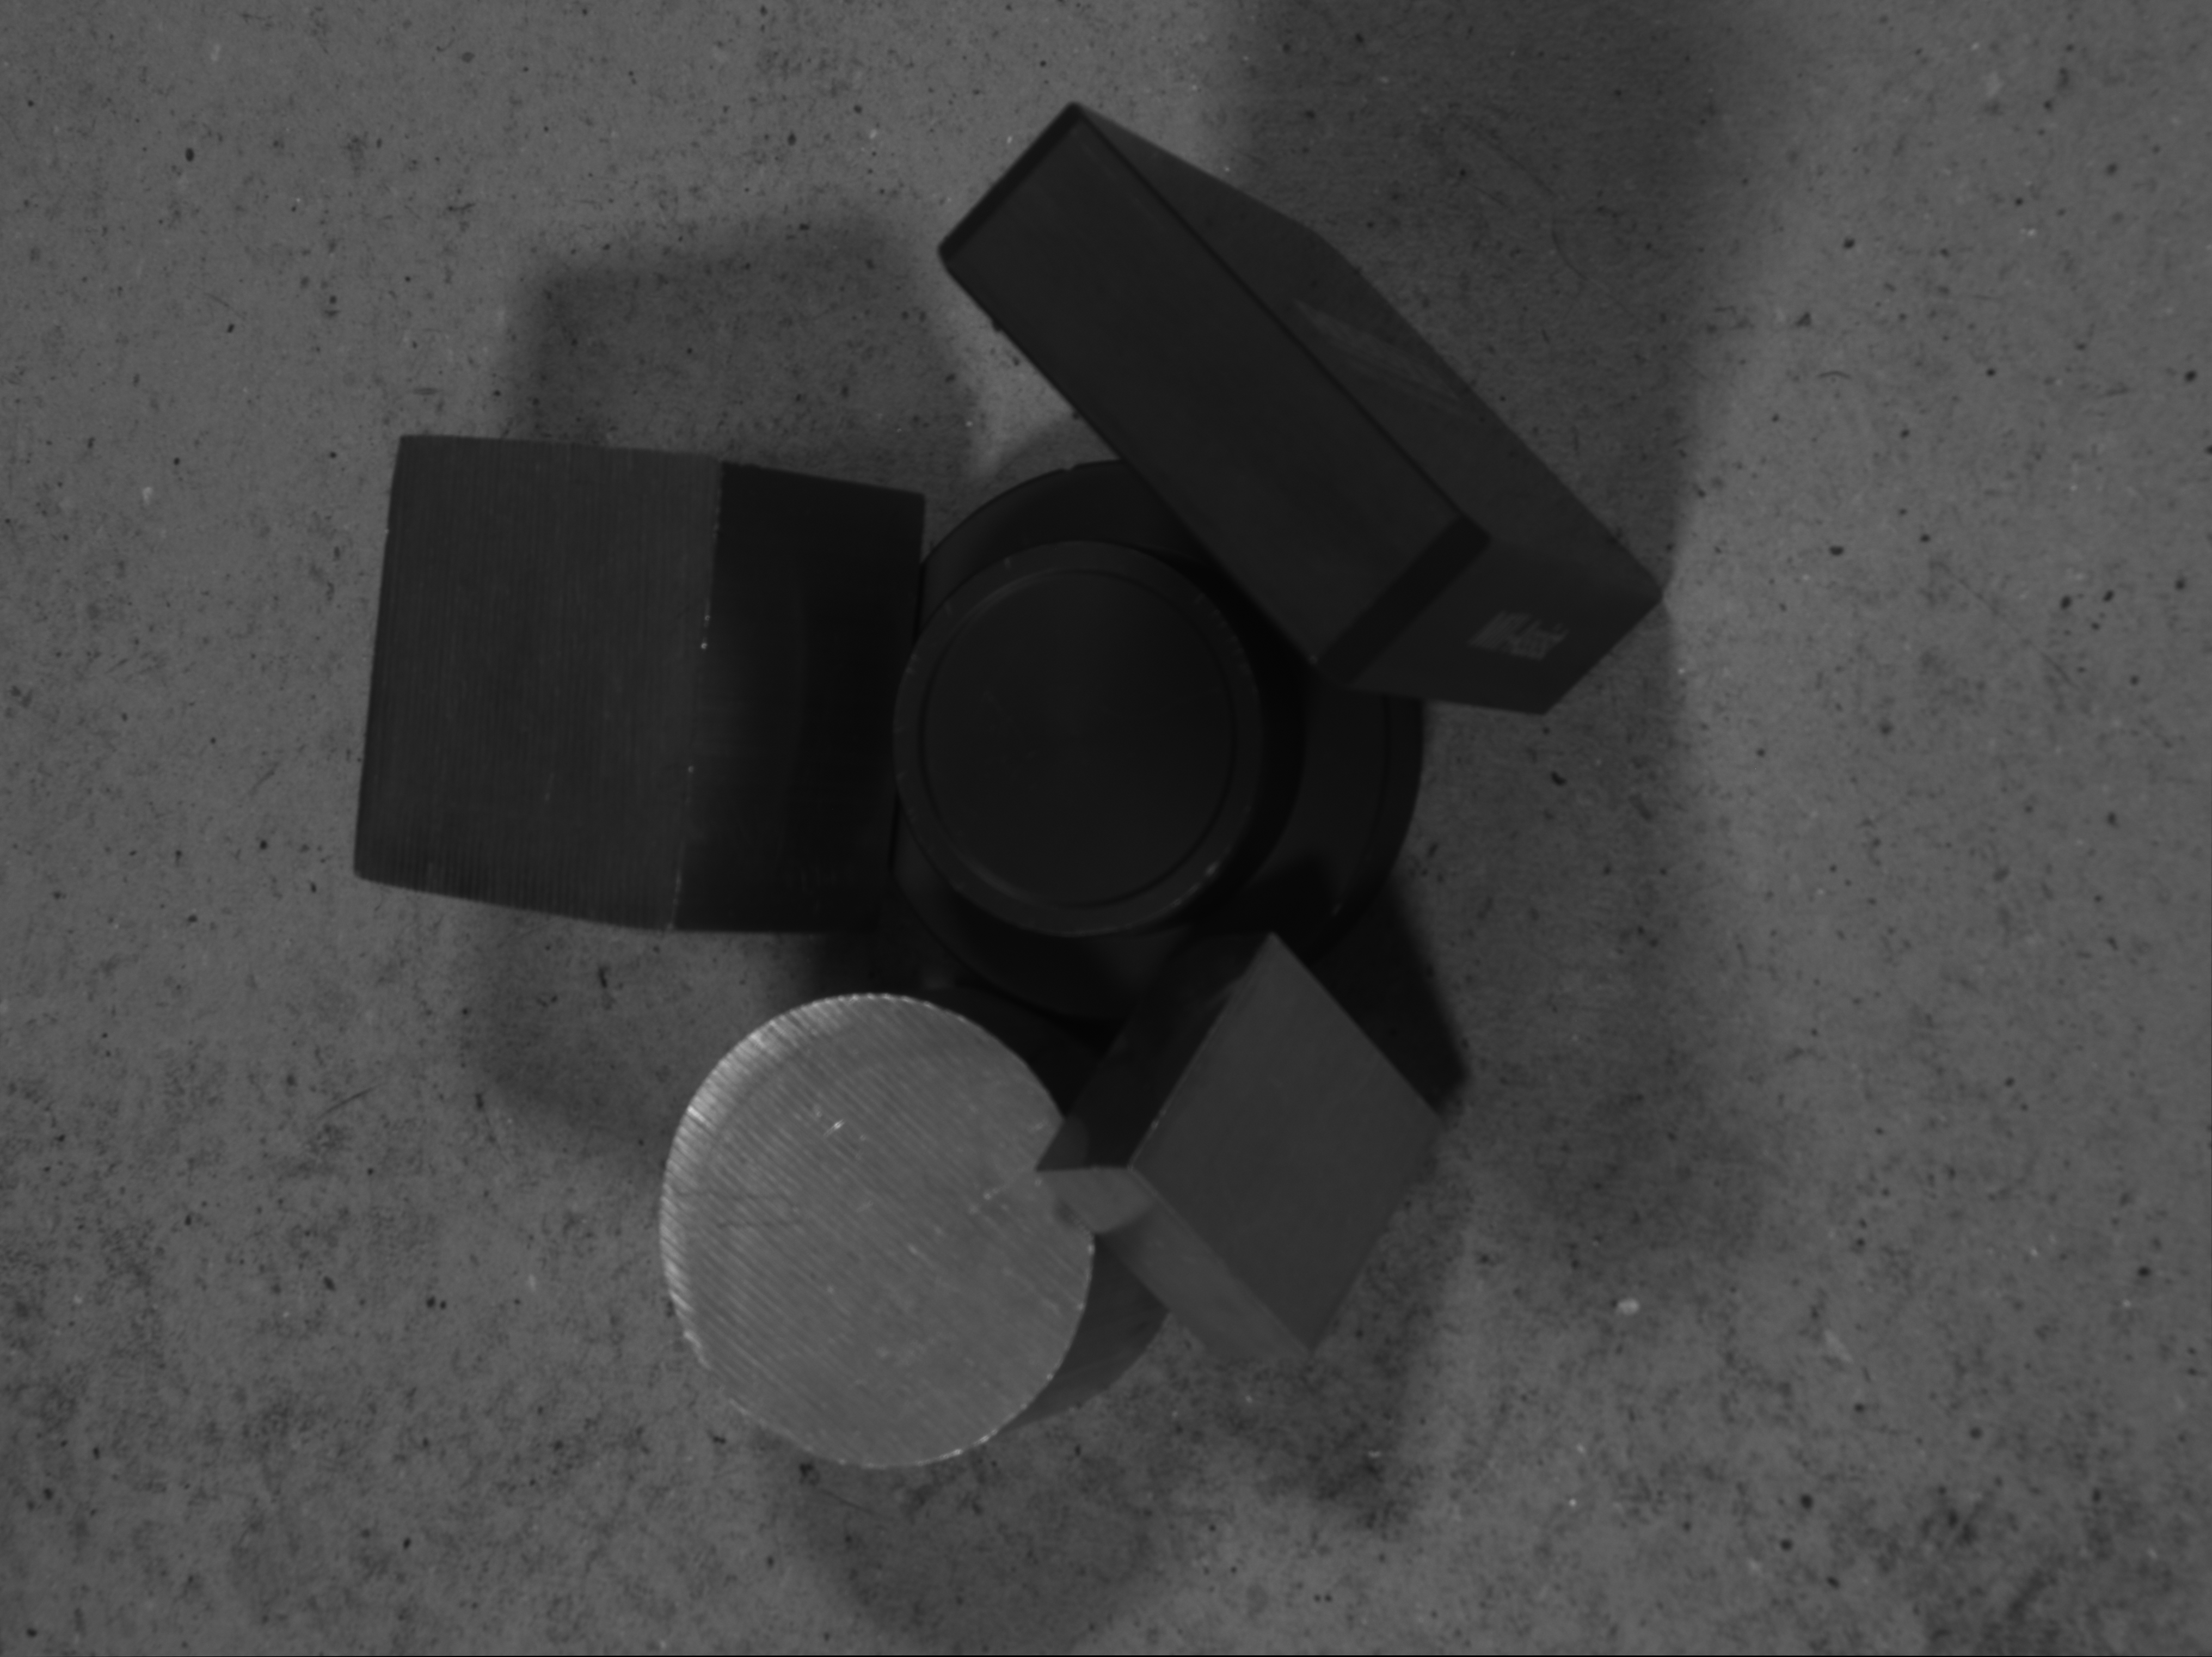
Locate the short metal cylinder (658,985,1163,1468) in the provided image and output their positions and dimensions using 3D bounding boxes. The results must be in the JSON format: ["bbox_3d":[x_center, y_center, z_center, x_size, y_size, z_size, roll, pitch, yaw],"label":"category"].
[{"bbox_3d":[-0.031,0.068,0.643,0.080,0.050,0.080,0,90,20],"label":"short metal cylinder"}]

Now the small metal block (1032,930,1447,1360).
[{"bbox_3d":[0.023,0.053,0.611,0.025,0.050,0.050,-8,131,50],"label":"small metal block"}]

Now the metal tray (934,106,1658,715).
[{"bbox_3d":[0.034,-0.061,0.575,0.030,0.130,0.090,-46,76,14],"label":"metal tray"}]

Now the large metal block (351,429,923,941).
[{"bbox_3d":[-0.083,-0.025,0.648,0.080,0.050,0.080,8,93,37],"label":"large metal block"}]

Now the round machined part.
[{"bbox_3d":[0.002,-0.015,0.636,0.098,0.042,0.098,0,90,20],"label":"round machined part"}]
